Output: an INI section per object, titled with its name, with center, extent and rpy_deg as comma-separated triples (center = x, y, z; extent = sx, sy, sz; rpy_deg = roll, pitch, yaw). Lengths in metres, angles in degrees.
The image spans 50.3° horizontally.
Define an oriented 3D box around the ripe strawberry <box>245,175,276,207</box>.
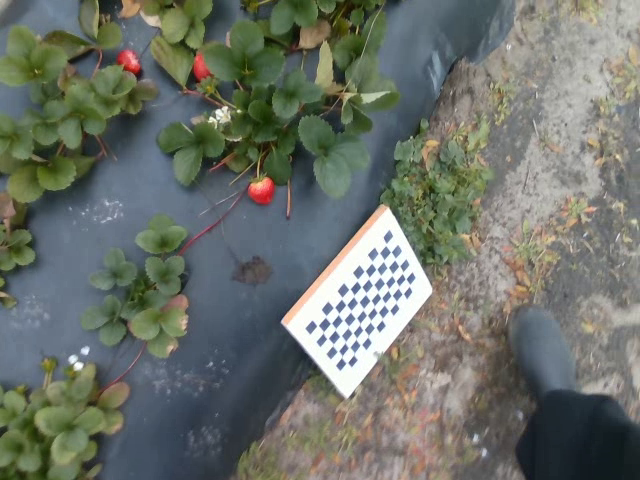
[ripe strawberry]
center = -0.118, -0.096, 1.381
extent = 0.061, 0.065, 0.049
rpy_deg = -42, 36, -25
